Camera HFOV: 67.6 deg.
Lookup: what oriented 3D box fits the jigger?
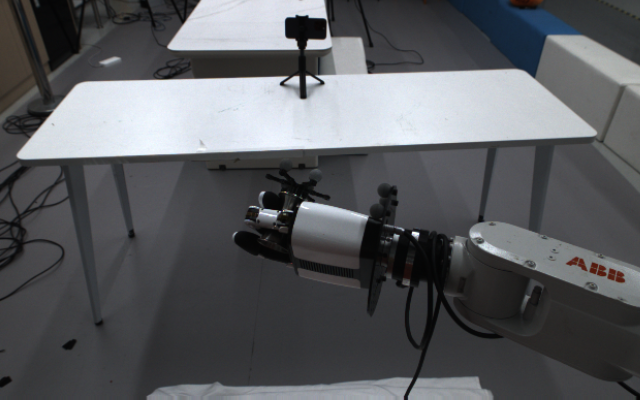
[{"bbox_3d":[-0.045,0.027,0.612,0.043,0.043,0.071,15,71,18],"label":"jigger"}]
